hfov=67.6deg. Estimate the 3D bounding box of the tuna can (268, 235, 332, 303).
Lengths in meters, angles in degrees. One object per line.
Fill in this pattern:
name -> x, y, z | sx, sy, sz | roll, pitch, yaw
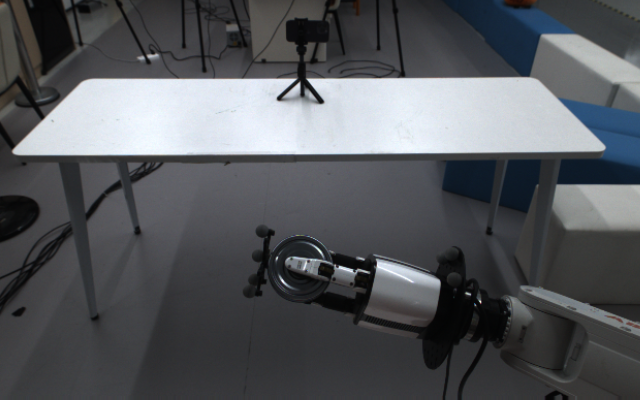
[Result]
tuna can -> -0.022, 0.093, 0.626 | 0.085, 0.034, 0.085 | 2, 73, -5
